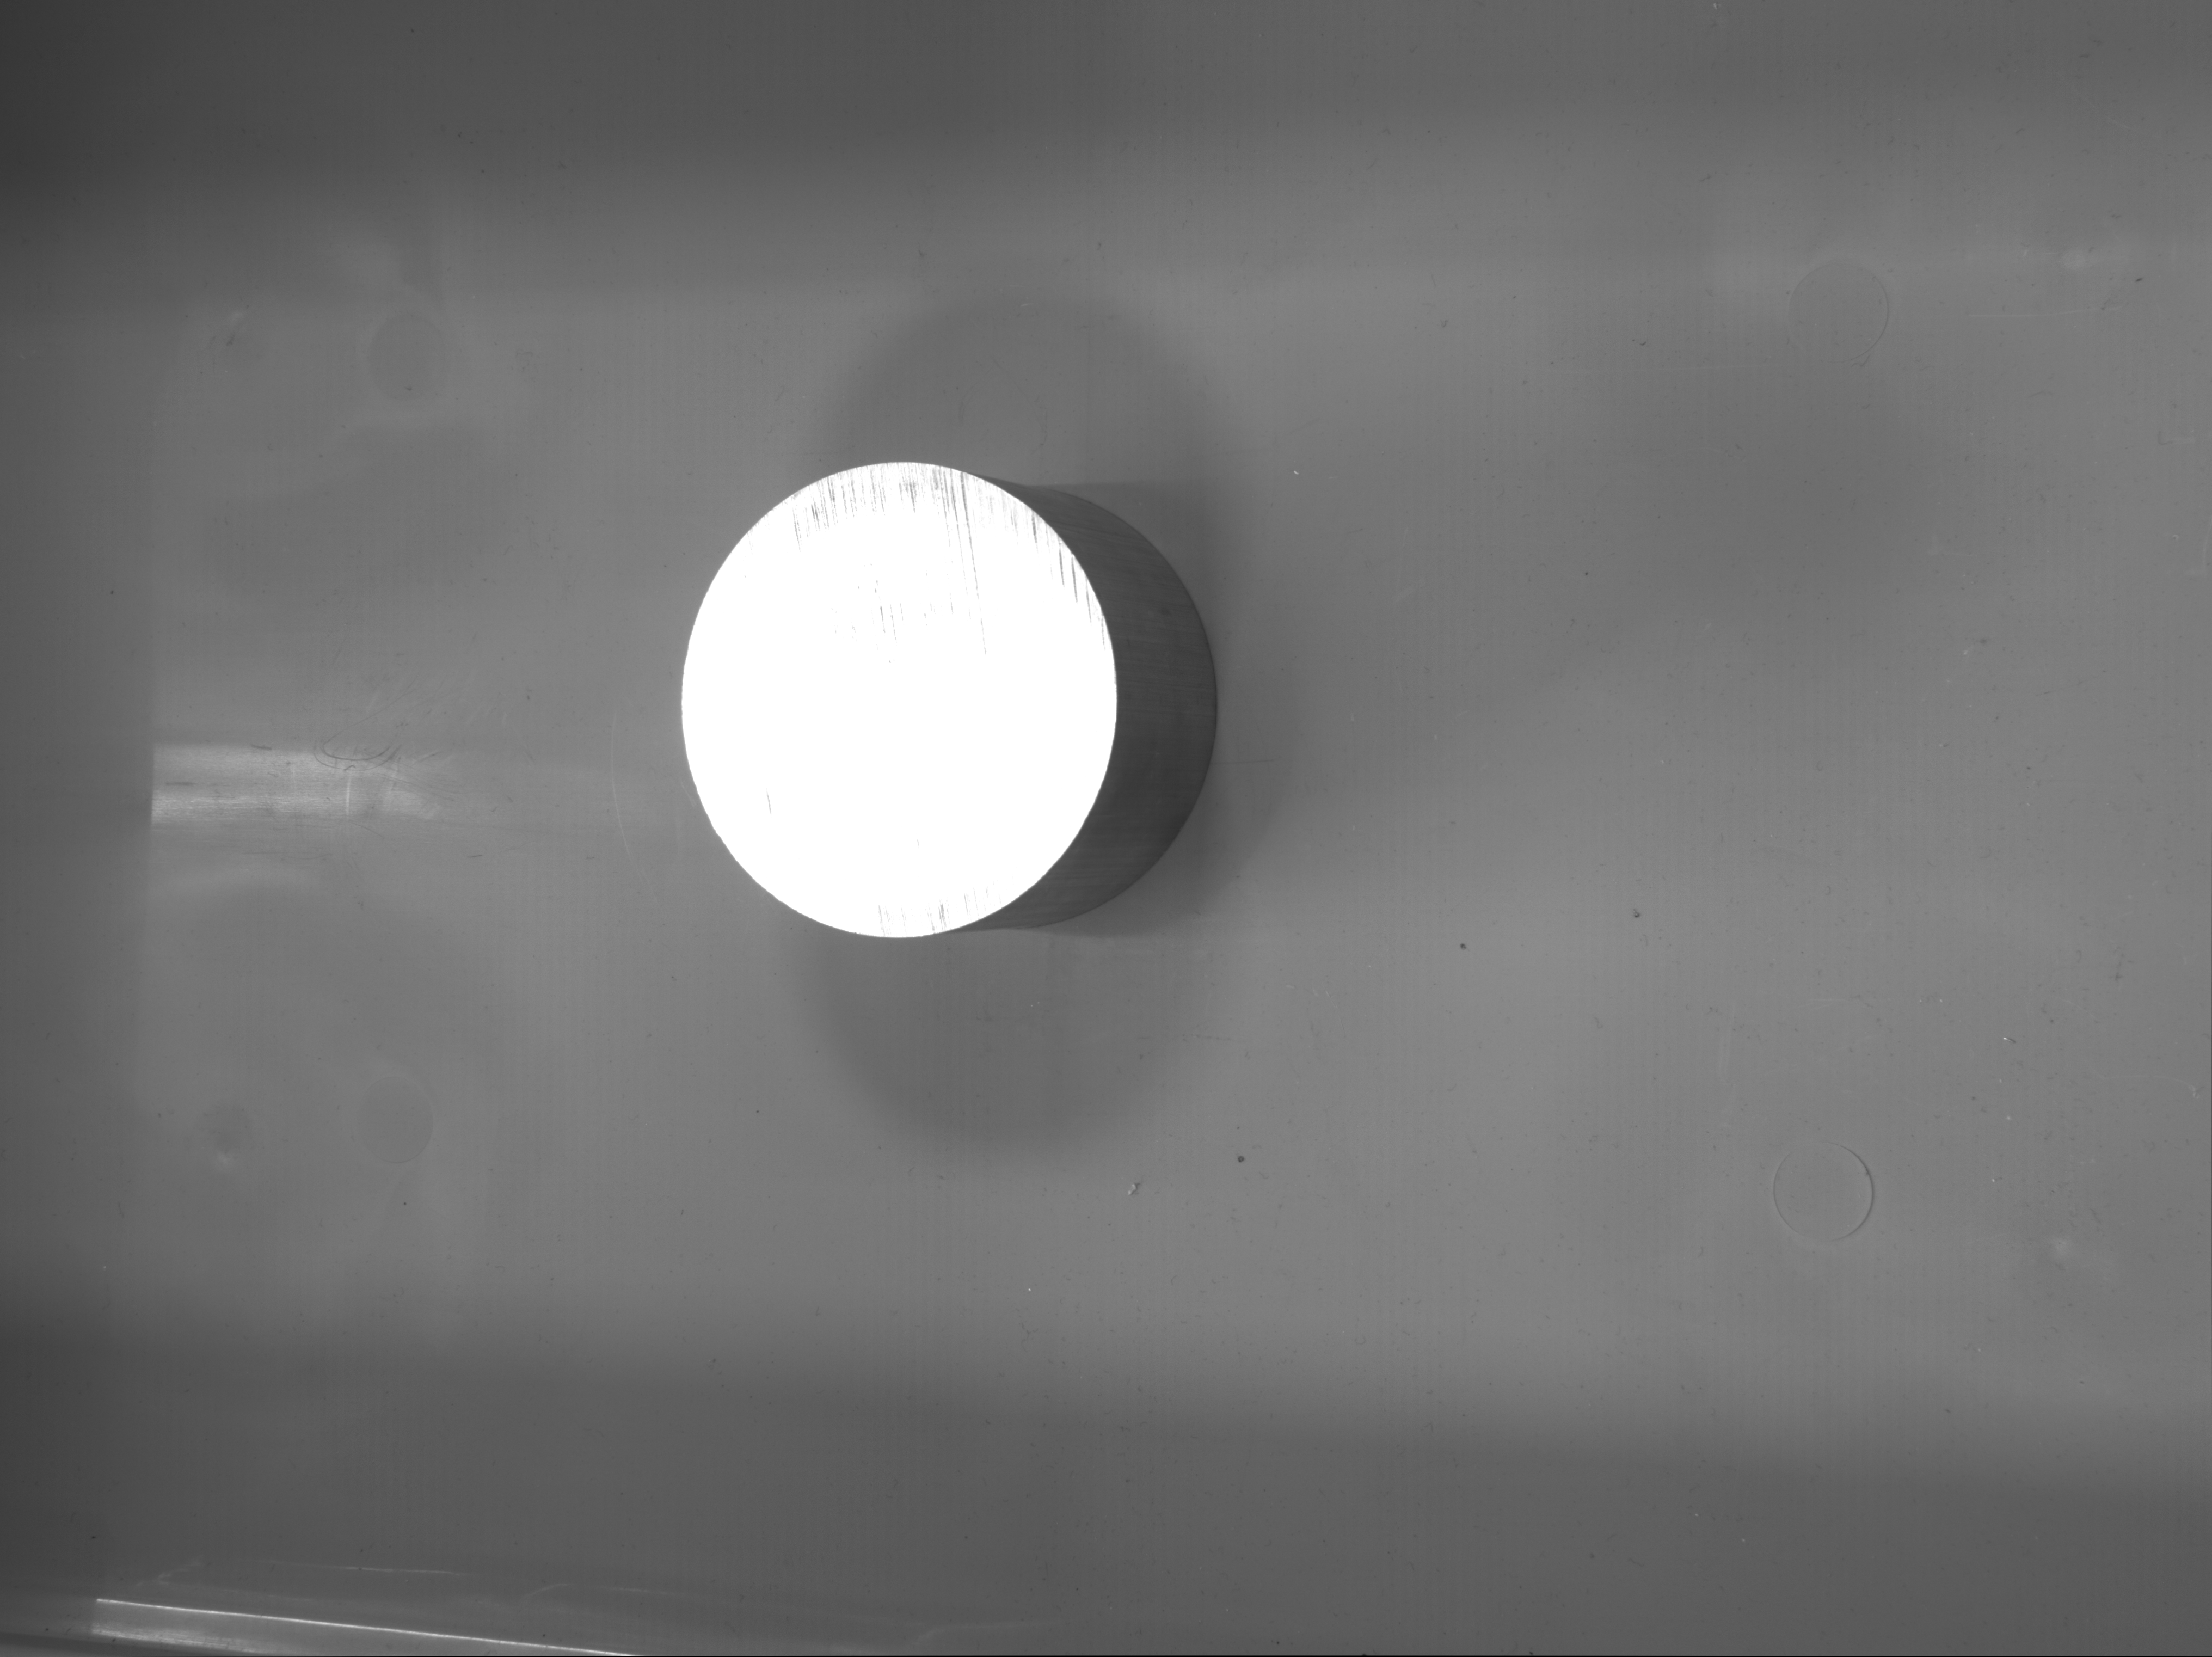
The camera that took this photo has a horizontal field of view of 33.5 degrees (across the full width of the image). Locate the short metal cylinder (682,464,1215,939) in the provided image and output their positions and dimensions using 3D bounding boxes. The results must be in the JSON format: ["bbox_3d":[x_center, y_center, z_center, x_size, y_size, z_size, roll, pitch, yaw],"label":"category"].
[{"bbox_3d":[-0.027,-0.021,0.642,0.080,0.050,0.080,0,90,20],"label":"short metal cylinder"}]
